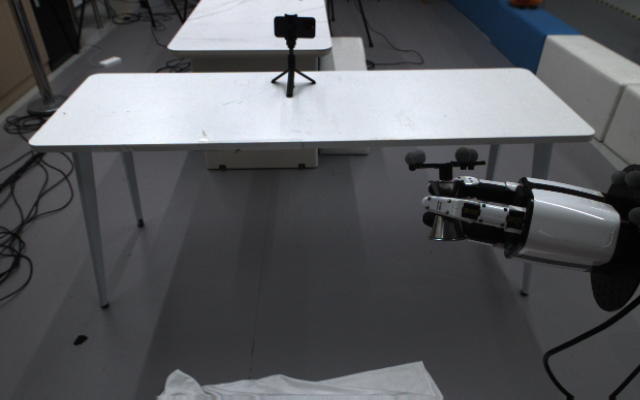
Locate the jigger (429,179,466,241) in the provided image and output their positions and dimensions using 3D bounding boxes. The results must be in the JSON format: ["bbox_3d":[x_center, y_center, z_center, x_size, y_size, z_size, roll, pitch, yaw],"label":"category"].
[{"bbox_3d":[0.145,0.011,0.560,0.043,0.071,0.043,-2,3,0],"label":"jigger"}]
